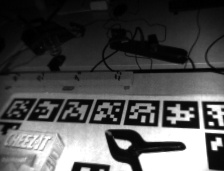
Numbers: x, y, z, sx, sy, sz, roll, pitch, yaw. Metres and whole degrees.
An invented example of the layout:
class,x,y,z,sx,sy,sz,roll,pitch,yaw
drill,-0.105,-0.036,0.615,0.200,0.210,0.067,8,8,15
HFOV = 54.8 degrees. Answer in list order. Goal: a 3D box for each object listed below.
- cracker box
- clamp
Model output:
class,x,y,z,sx,sy,sz,roll,pitch,yaw
cracker box,-0.250,0.222,0.555,0.163,0.072,0.213,1,44,17
clamp,0.048,0.166,0.575,0.200,0.037,0.166,25,54,35
